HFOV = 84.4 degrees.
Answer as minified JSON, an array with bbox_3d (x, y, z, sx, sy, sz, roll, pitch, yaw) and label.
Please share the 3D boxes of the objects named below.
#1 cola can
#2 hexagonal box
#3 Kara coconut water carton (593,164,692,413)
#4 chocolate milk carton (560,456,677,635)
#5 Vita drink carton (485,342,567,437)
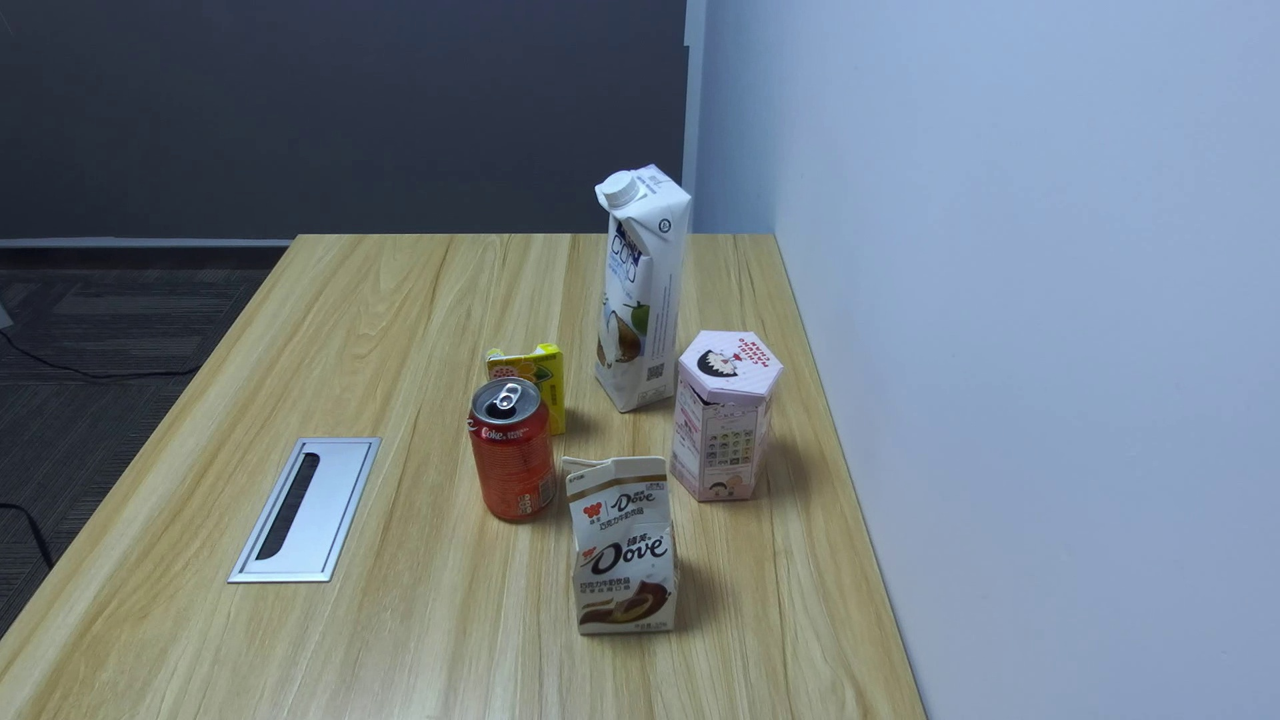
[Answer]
[{"bbox_3d":[-0.107,0.076,0.600,0.068,0.120,0.067,-1,37,1],"label":"cola can"},{"bbox_3d":[0.071,0.050,0.614,0.085,0.135,0.091,-20,43,-24],"label":"hexagonal box"},{"bbox_3d":[0.000,-0.064,0.665,0.071,0.244,0.099,-18,42,-21],"label":"Kara coconut water carton"},{"bbox_3d":[-0.010,0.124,0.509,0.084,0.155,0.073,-1,40,-1],"label":"chocolate milk carton"},{"bbox_3d":[-0.108,0.025,0.668,0.071,0.110,0.046,-10,41,-12],"label":"Vita drink carton"}]
